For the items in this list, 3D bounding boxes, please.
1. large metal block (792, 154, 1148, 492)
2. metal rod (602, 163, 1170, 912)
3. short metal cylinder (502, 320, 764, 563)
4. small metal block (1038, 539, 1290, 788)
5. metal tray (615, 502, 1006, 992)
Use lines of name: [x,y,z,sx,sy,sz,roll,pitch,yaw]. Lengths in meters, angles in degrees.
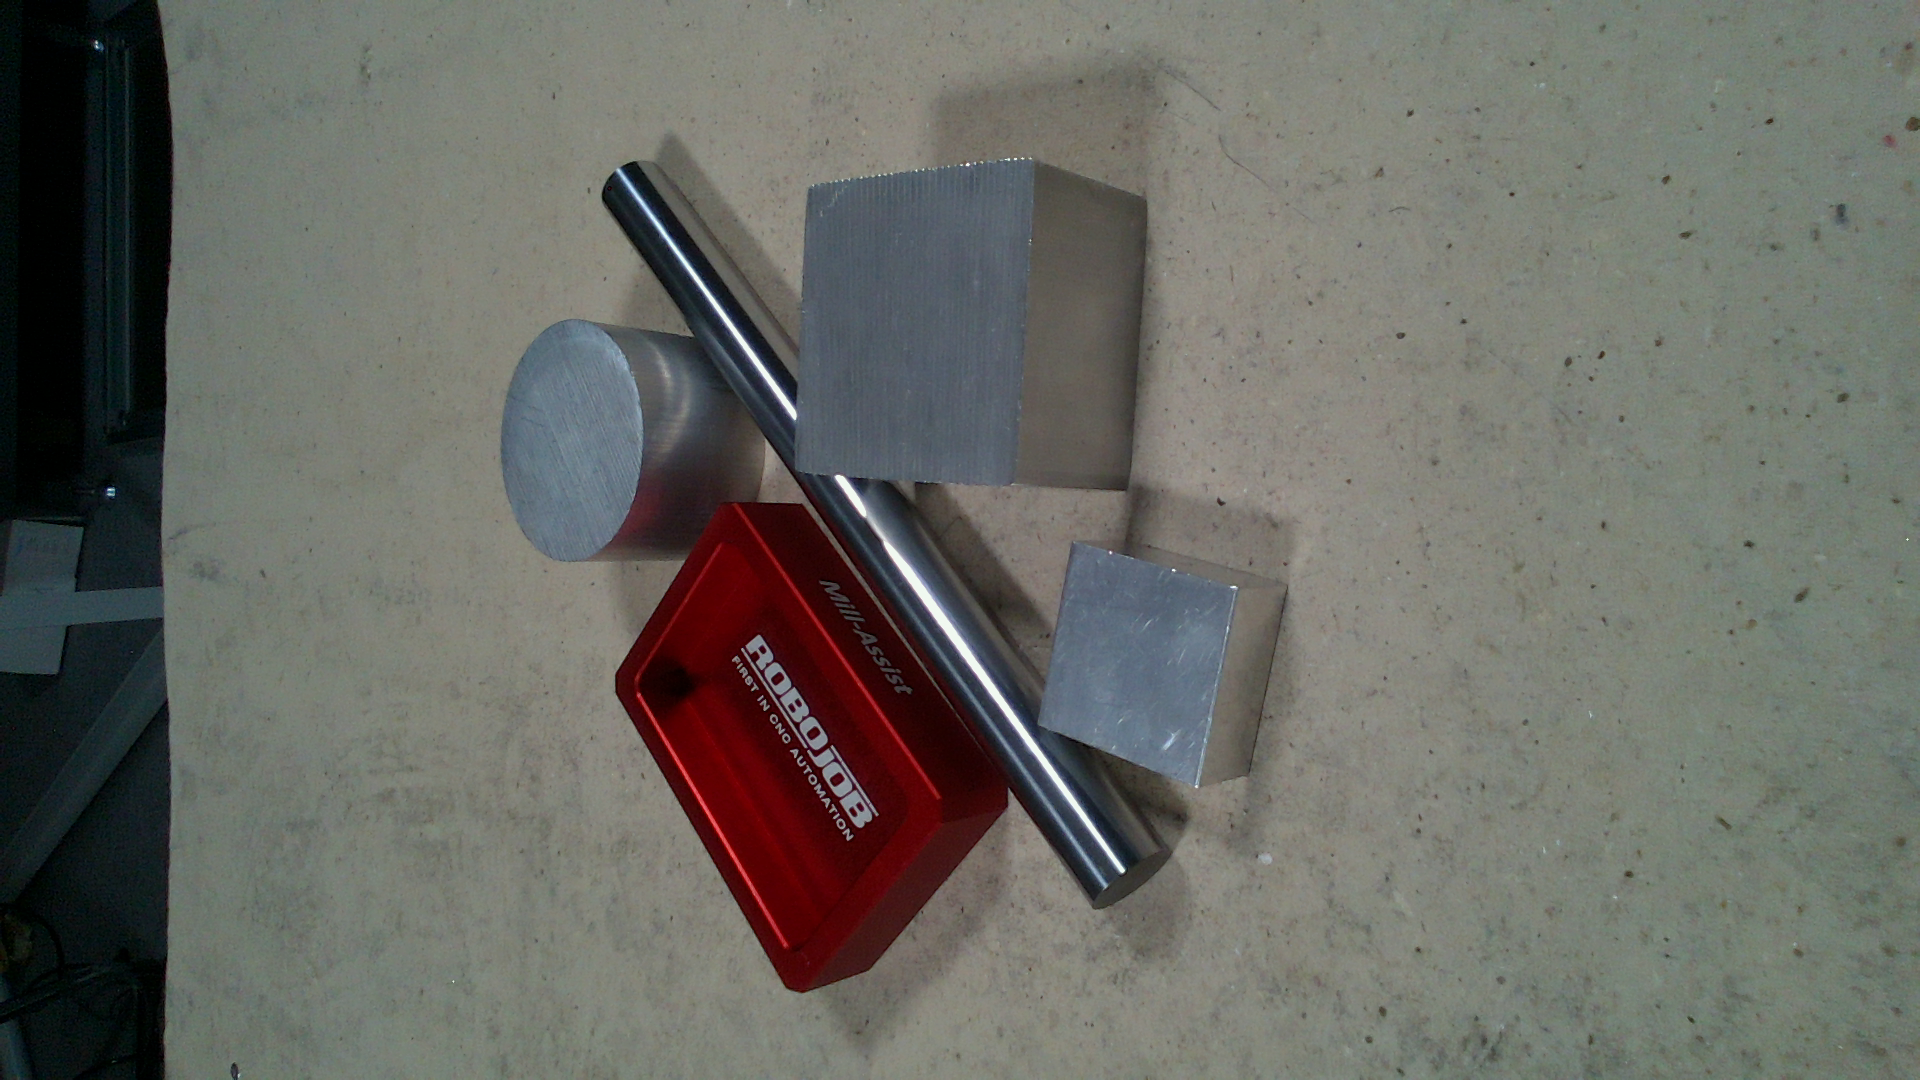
large metal block: [0.002,-0.056,0.377,0.080,0.050,0.080,6,94,40]
metal rod: [-0.036,-0.018,0.425,0.025,0.025,0.299,-52,59,27]
short metal cylinder: [-0.113,-0.033,0.474,0.080,0.050,0.080,0,90,40]
small metal block: [0.051,0.030,0.352,0.050,0.025,0.050,17,101,39]
metal tray: [-0.053,0.062,0.436,0.130,0.030,0.090,52,120,28]
